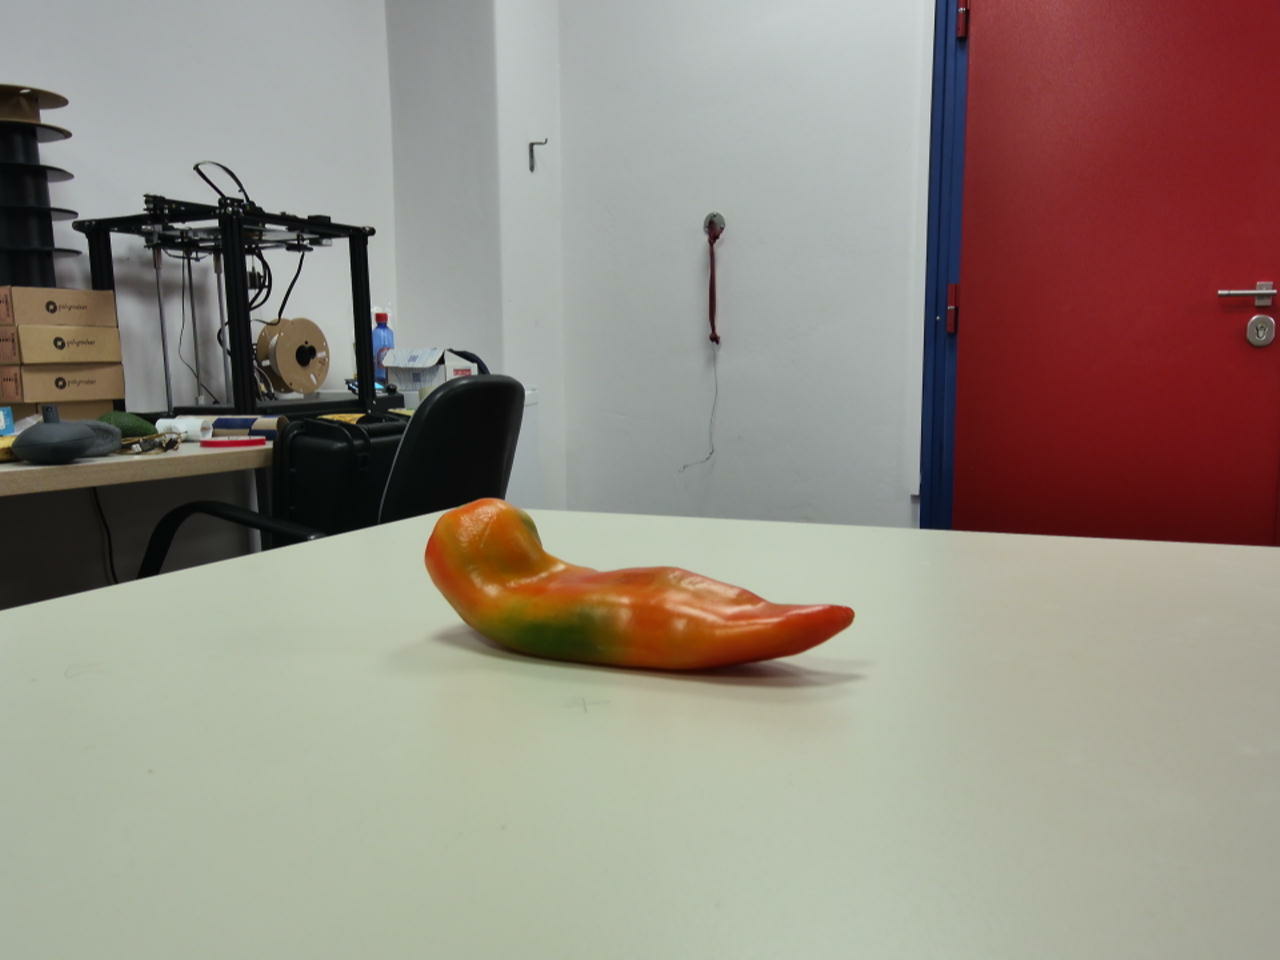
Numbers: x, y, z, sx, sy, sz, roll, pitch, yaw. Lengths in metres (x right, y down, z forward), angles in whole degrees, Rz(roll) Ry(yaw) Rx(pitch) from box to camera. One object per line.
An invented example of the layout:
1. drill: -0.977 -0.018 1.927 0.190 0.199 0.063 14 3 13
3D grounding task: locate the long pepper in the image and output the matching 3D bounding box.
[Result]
1. long pepper: -0.008 0.044 0.430 0.199 0.065 0.066 3 4 30
